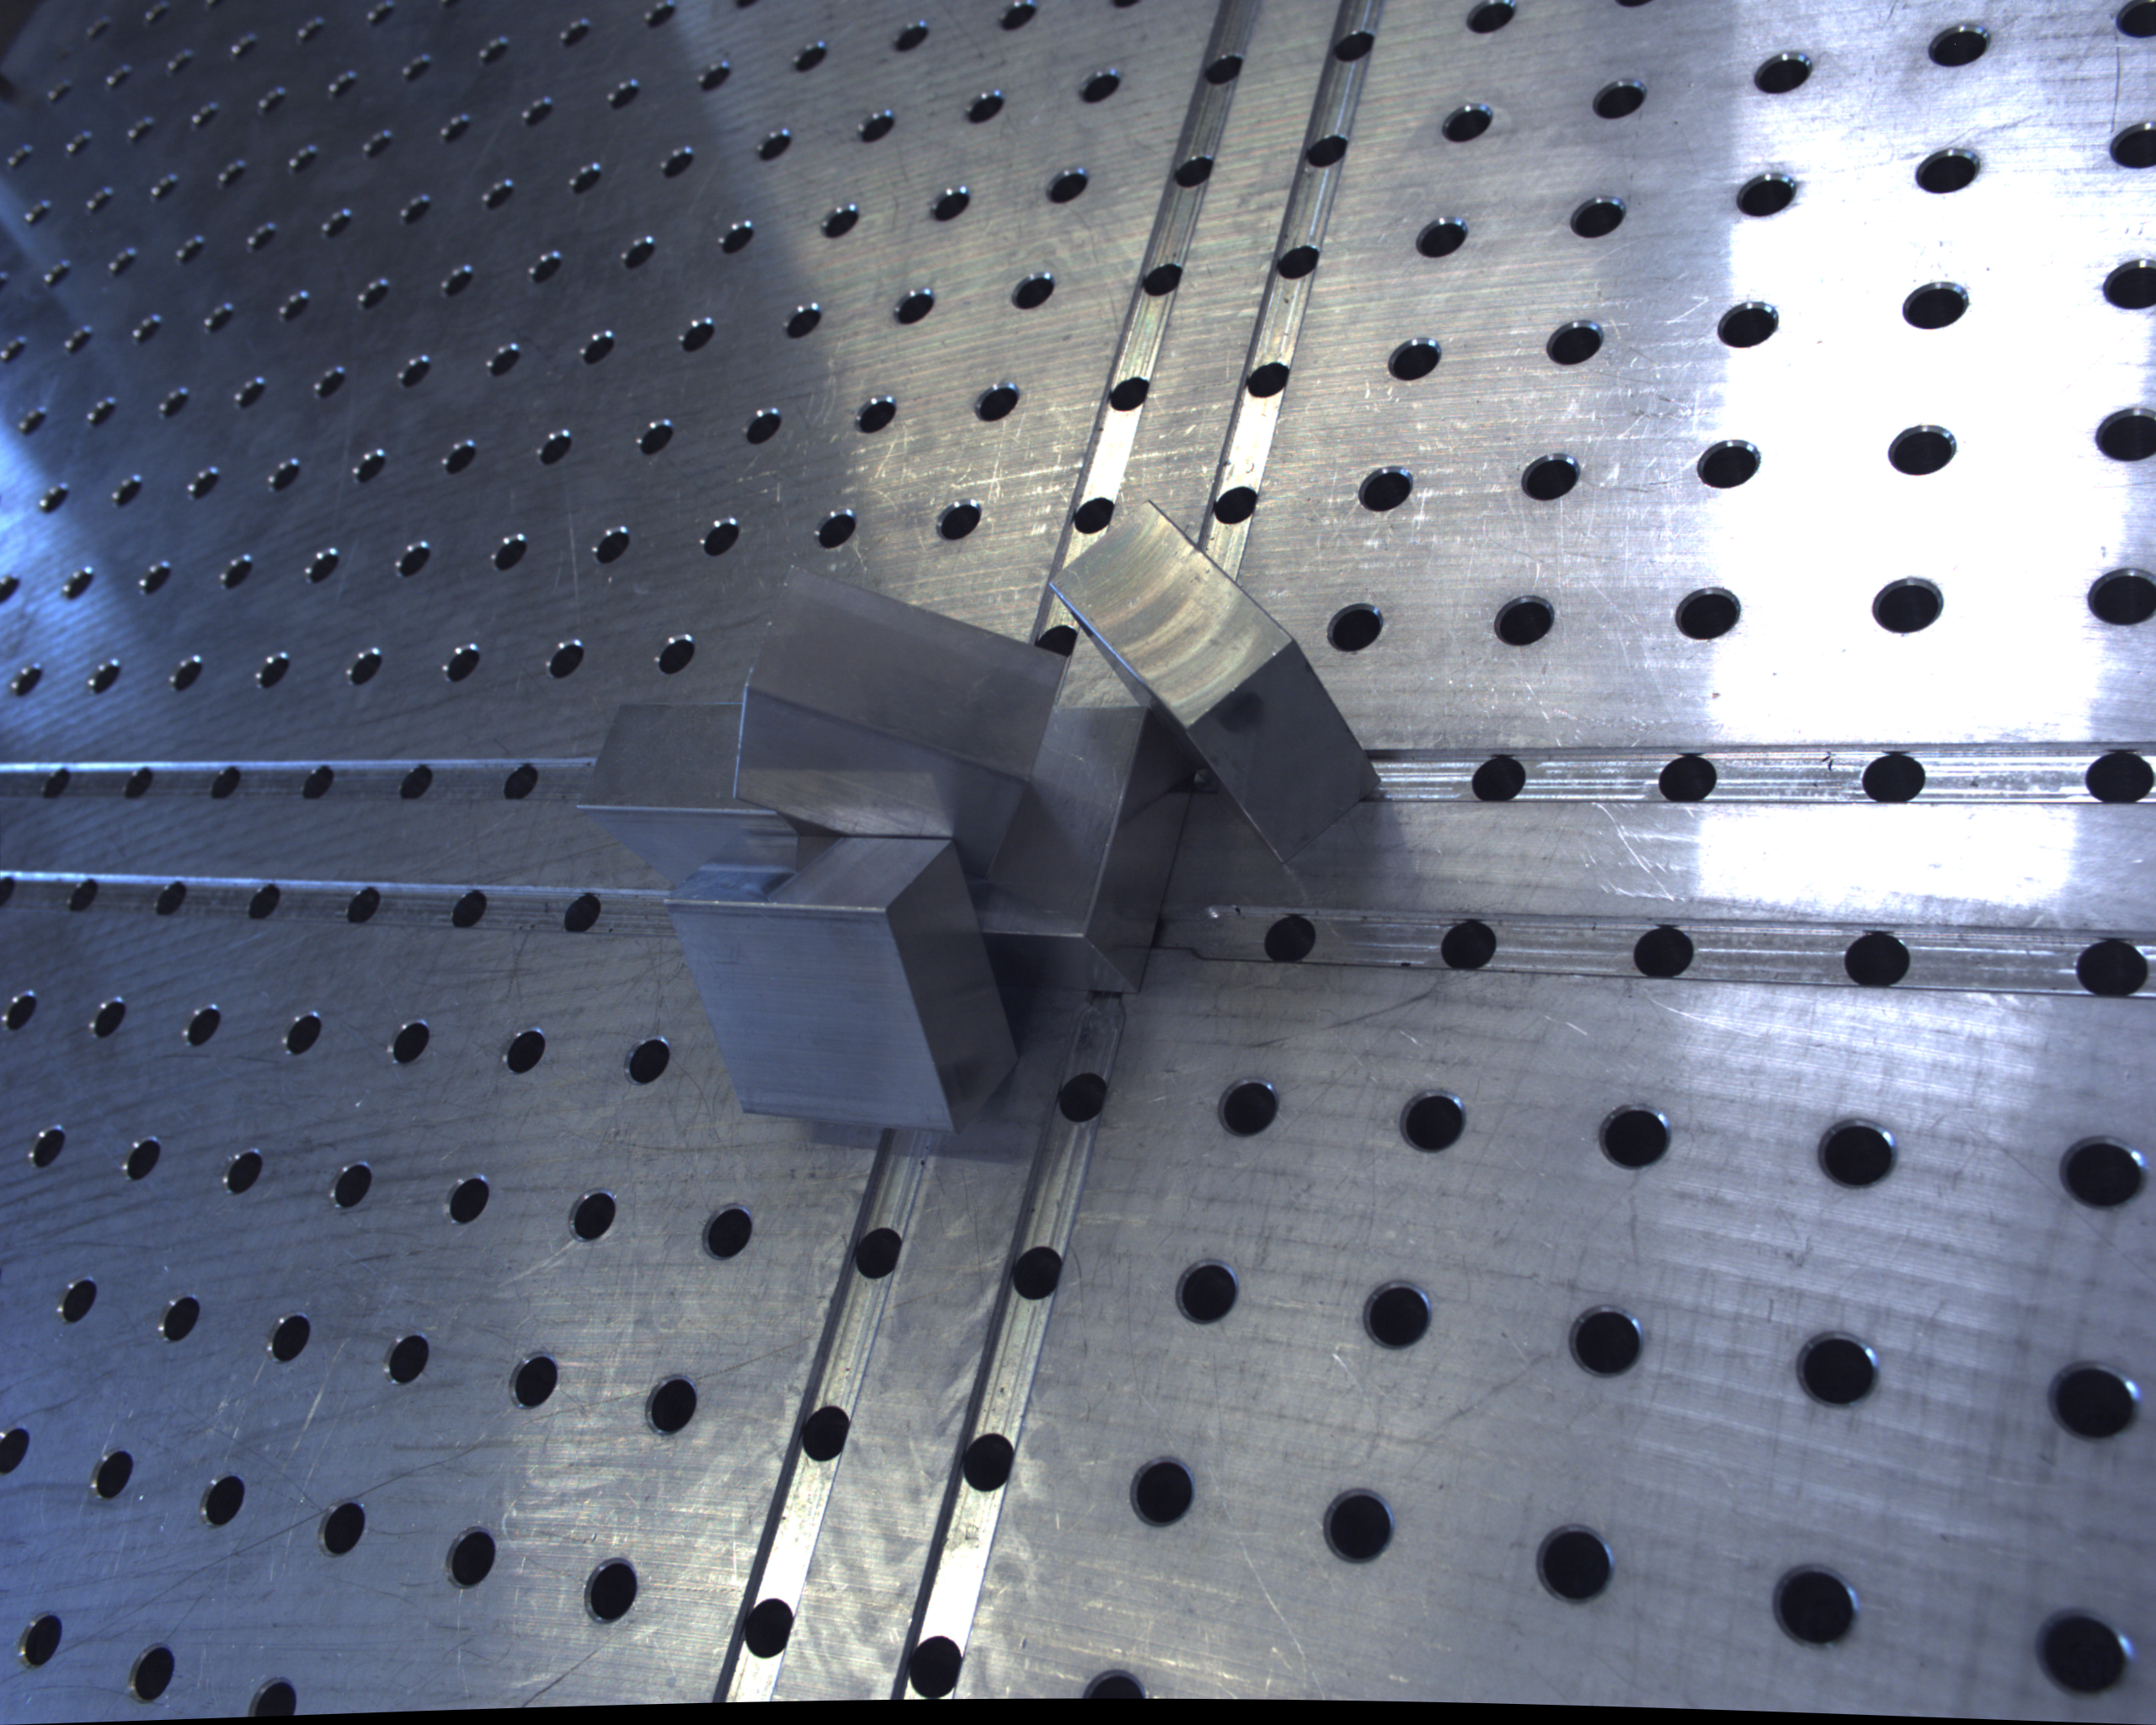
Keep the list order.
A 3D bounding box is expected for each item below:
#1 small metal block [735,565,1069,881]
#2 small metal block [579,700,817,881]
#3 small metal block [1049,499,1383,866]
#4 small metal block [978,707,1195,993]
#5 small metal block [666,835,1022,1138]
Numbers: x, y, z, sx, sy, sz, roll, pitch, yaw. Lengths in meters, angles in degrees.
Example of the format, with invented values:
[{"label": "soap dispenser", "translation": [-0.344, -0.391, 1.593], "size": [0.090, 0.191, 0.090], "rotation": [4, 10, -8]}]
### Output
[{"label": "small metal block", "translation": [-0.033, -0.024, 0.380], "size": [0.050, 0.050, 0.025], "rotation": [18, 67, -4]}, {"label": "small metal block", "translation": [-0.065, -0.010, 0.433], "size": [0.050, 0.050, 0.025], "rotation": [1, 63, 30]}, {"label": "small metal block", "translation": [0.027, -0.034, 0.400], "size": [0.025, 0.050, 0.050], "rotation": [-40, 51, 1]}, {"label": "small metal block", "translation": [-0.009, -0.003, 0.416], "size": [0.050, 0.025, 0.050], "rotation": [2, 63, 28]}, {"label": "small metal block", "translation": [-0.044, 0.023, 0.399], "size": [0.050, 0.050, 0.025], "rotation": [1, 31, 29]}]
